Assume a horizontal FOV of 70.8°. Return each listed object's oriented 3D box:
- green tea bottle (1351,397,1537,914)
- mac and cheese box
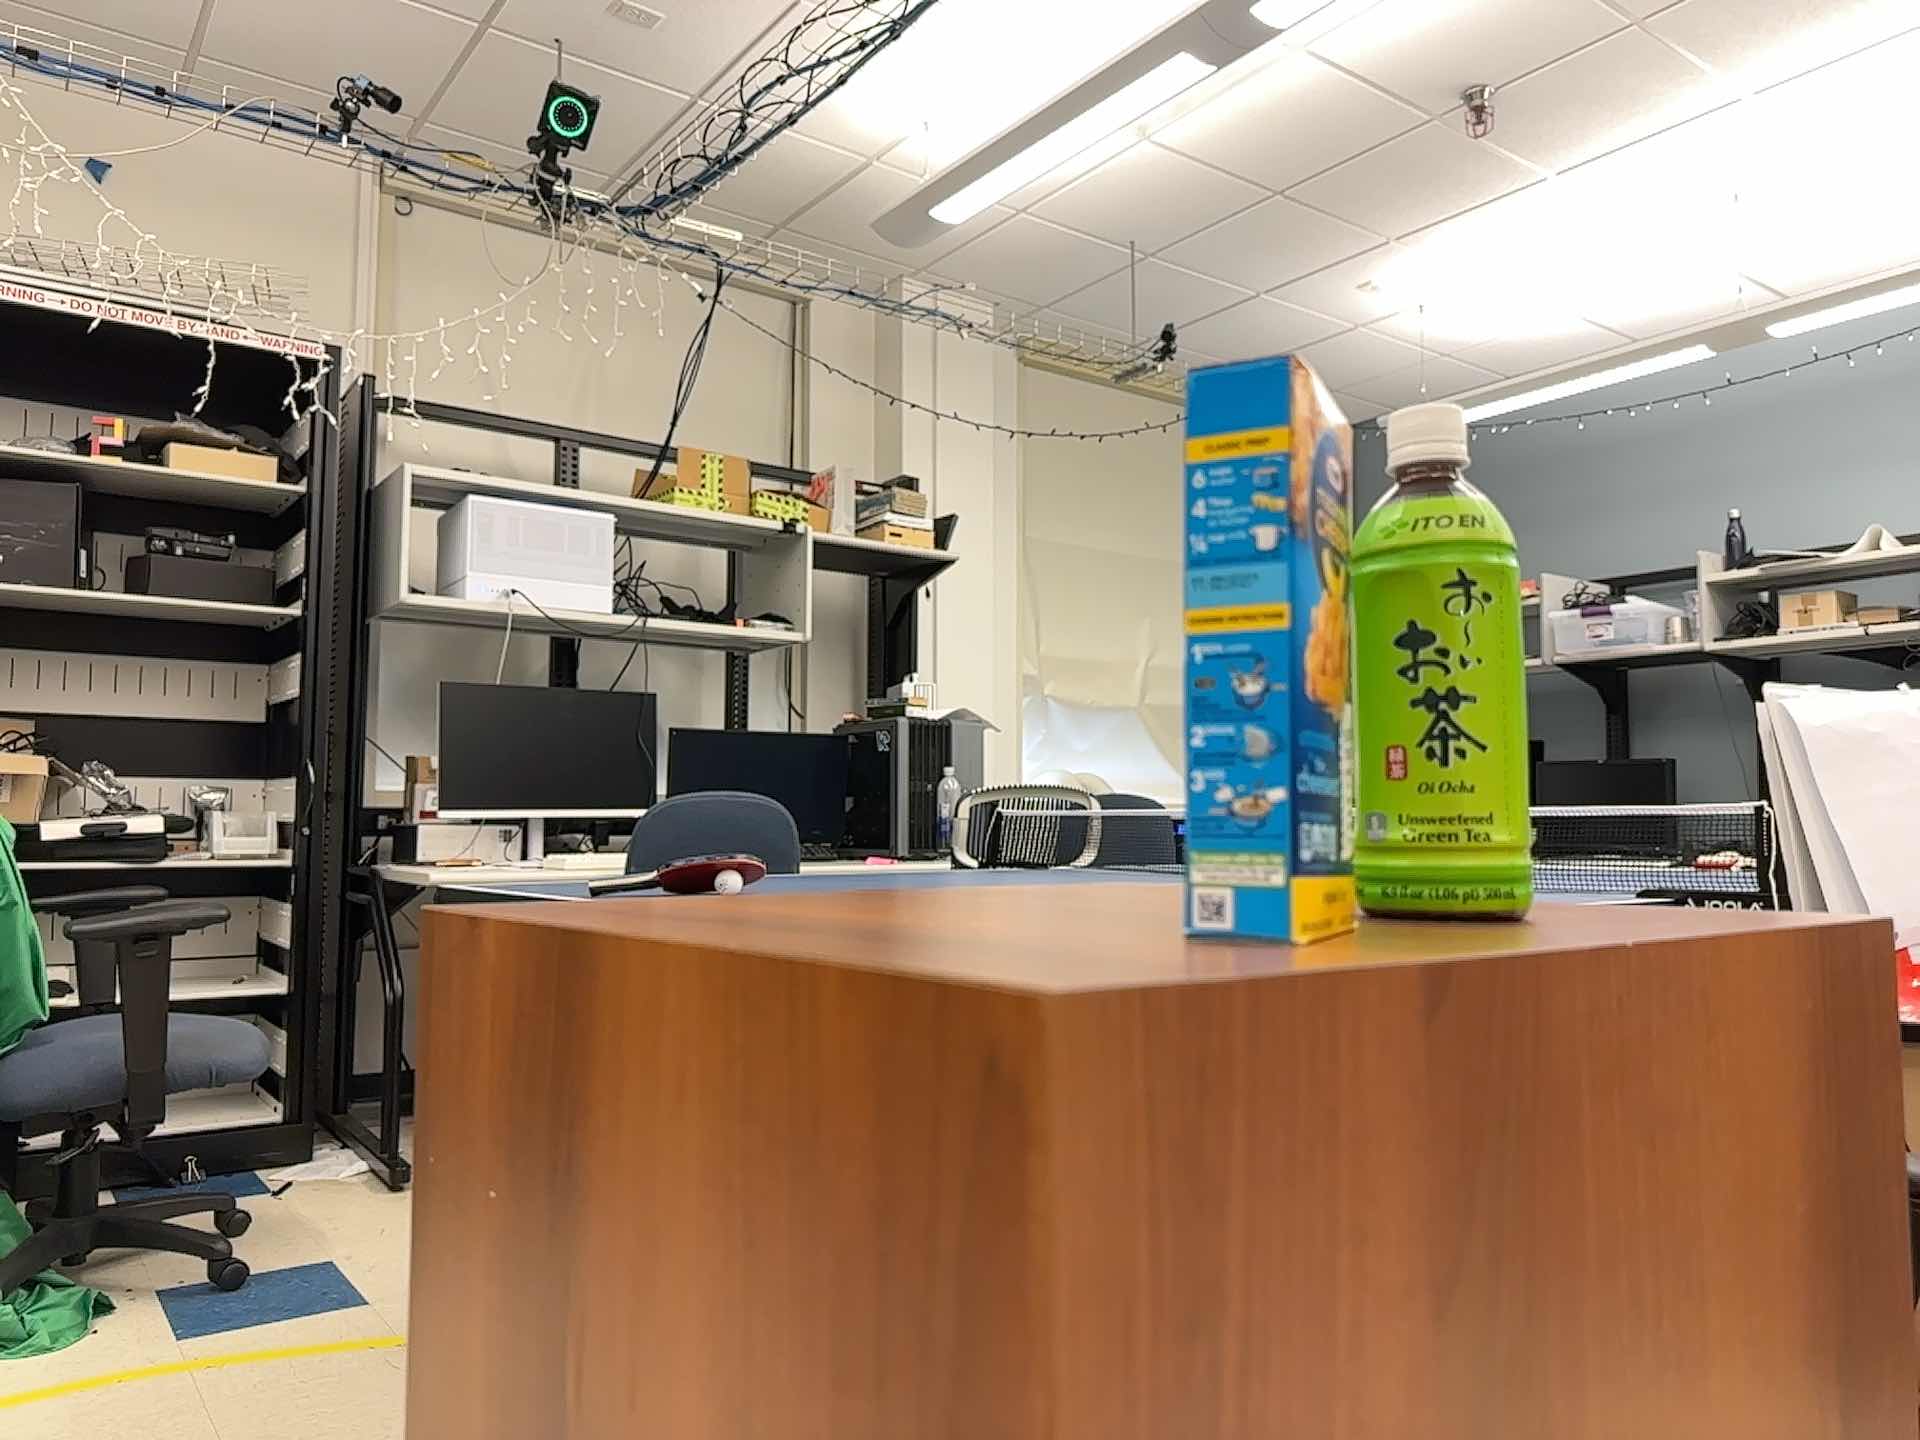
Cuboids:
[{"bbox_3d":[0.197,-0.027,0.560,0.073,0.212,0.073,1,-8,0],"label":"green tea bottle"},{"bbox_3d":[0.107,-0.023,0.460,0.035,0.181,0.088,-3,-6,30],"label":"mac and cheese box"}]
